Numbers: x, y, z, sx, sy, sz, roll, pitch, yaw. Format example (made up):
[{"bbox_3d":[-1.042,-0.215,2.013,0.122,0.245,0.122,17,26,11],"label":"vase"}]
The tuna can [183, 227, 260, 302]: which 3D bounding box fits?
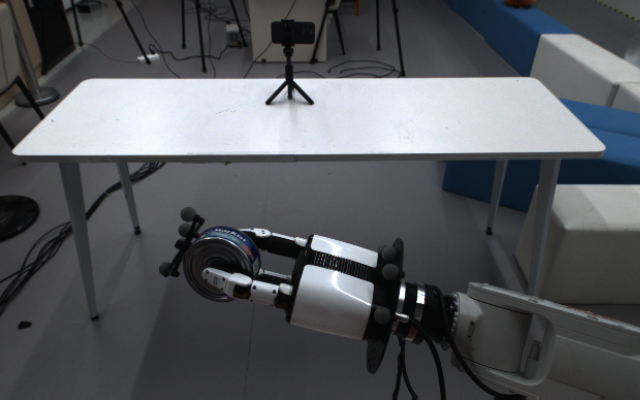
[{"bbox_3d":[-0.111,0.081,0.565,0.085,0.085,0.034,6,20,5],"label":"tuna can"}]
